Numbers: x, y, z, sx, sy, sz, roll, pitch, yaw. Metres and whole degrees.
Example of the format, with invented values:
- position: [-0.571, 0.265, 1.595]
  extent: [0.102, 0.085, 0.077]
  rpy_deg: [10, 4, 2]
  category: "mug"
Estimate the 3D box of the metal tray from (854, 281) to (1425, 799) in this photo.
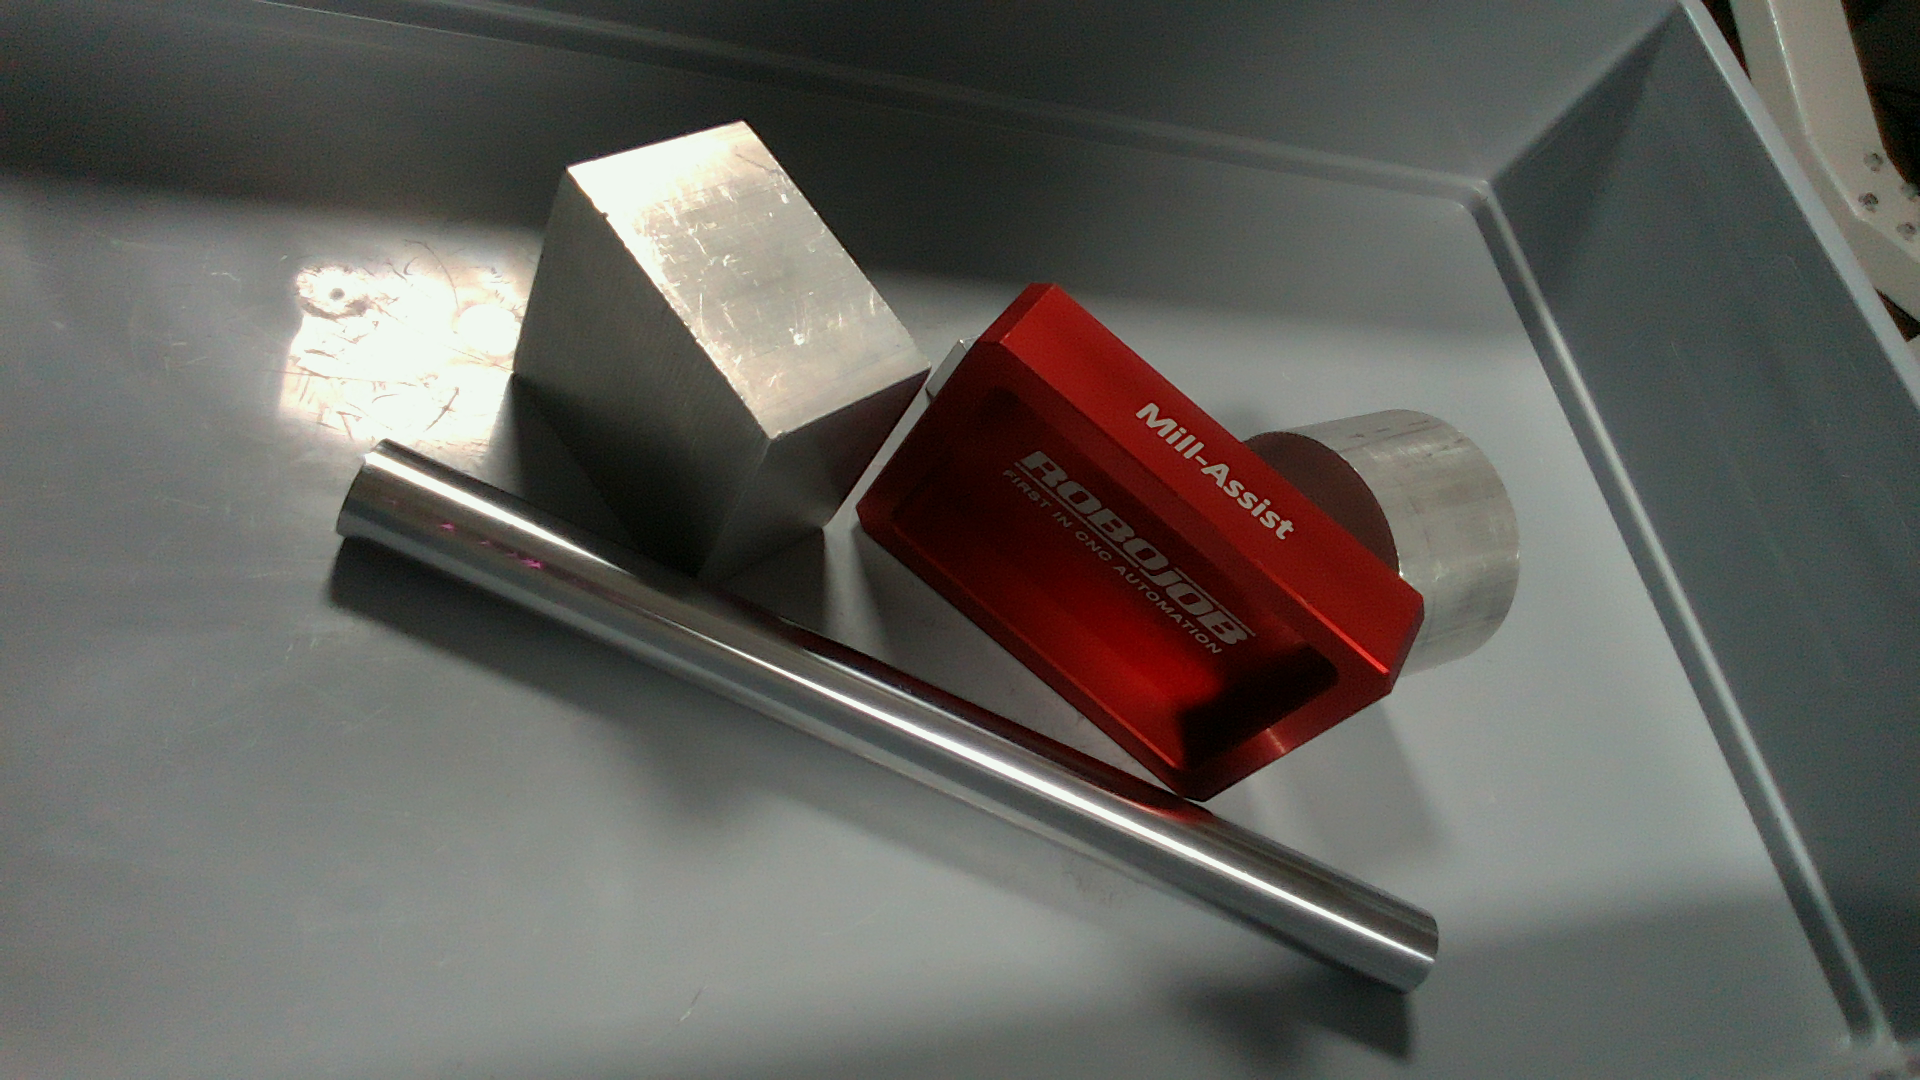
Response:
- position: [0.044, 0.005, 0.366]
  extent: [0.130, 0.090, 0.030]
  rpy_deg: [40, 50, -1]
  category: "metal tray"

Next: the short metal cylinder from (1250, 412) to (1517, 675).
- position: [0.117, 0.003, 0.413]
  extent: [0.050, 0.080, 0.080]
  rpy_deg: [-13, 68, -32]
  category: "short metal cylinder"

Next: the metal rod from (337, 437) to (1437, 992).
- position: [-0.007, 0.051, 0.354]
  extent: [0.300, 0.025, 0.025]
  rpy_deg: [26, 53, -12]
  category: "metal rod"

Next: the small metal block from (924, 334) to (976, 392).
- position: [0.026, -0.041, 0.426]
  extent: [0.050, 0.025, 0.050]
  rpy_deg: [-22, 73, -36]
  category: "small metal block"

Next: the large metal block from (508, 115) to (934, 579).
- position: [-0.064, -0.044, 0.346]
  extent: [0.050, 0.080, 0.080]
  rpy_deg: [-30, 78, -37]
  category: "large metal block"
